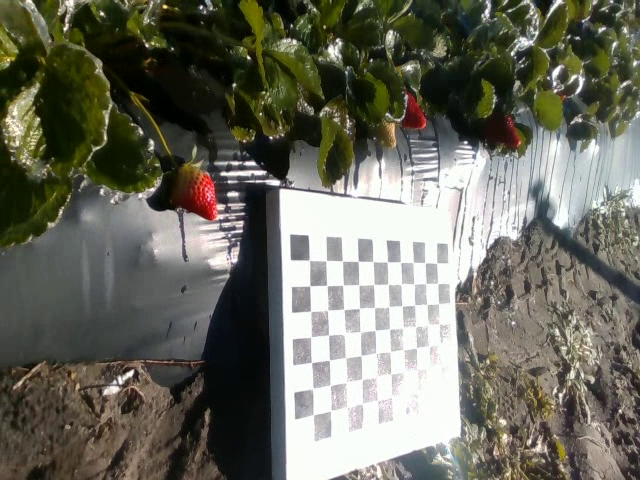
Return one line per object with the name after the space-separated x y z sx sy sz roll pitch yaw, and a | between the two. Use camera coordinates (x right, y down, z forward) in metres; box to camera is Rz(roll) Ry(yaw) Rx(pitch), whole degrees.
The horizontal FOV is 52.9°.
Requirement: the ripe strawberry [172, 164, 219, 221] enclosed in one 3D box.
-0.095 -0.036 0.504 0.039 0.053 0.040 -28 0 -44 | ripe strawberry
